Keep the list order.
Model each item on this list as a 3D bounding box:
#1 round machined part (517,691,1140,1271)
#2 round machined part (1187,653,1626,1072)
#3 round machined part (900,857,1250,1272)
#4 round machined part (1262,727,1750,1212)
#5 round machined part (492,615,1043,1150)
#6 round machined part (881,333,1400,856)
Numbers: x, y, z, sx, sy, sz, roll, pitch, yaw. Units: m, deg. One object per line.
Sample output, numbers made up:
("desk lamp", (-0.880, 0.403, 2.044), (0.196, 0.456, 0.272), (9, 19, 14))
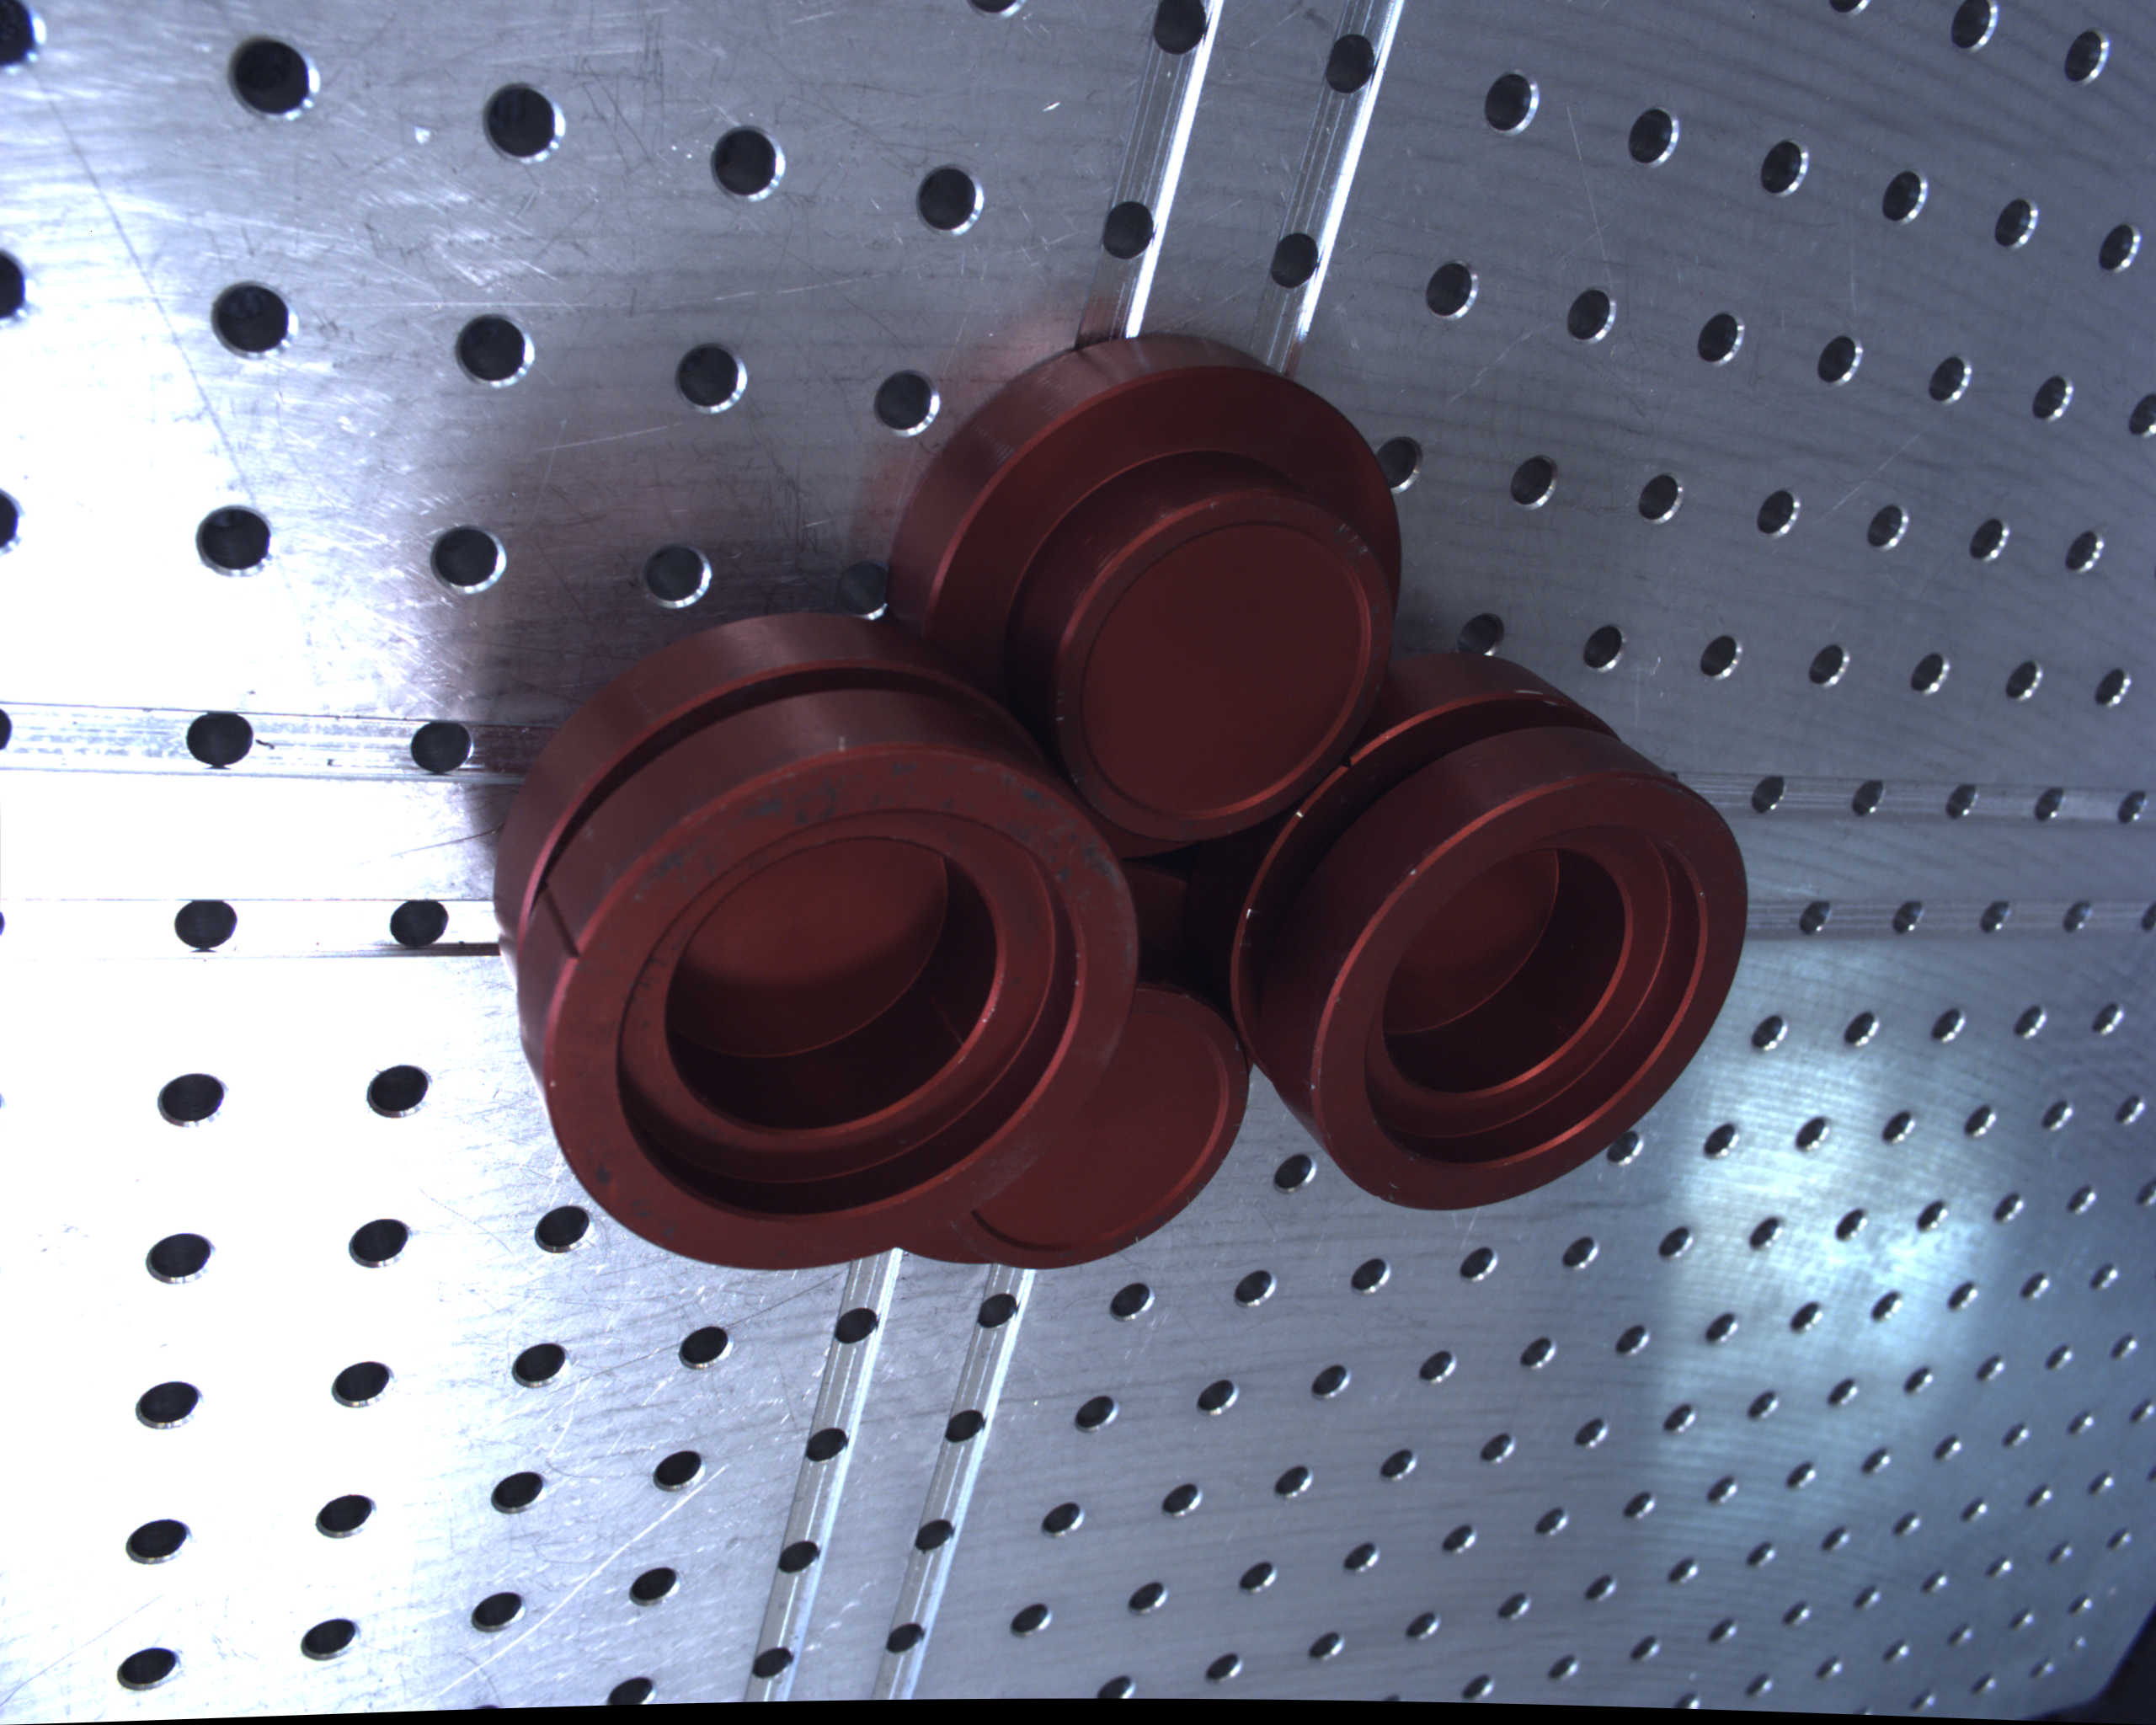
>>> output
("round machined part", (-0.043, 0.016, 0.344), (0.099, 0.042, 0.097), (-14, 124, -21))
("round machined part", (0.066, 0.001, 0.435), (0.099, 0.042, 0.097), (-14, 124, -21))
("round machined part", (-0.005, 0.043, 0.423), (0.099, 0.042, 0.097), (-14, 124, -21))
("round machined part", (0.079, 0.017, 0.411), (0.099, 0.042, 0.097), (-14, 124, -21))
("round machined part", (-0.054, 0.001, 0.370), (0.099, 0.042, 0.097), (-14, 124, -21))
("round machined part", (0.017, -0.043, 0.382), (0.099, 0.042, 0.097), (-14, 124, -21))
